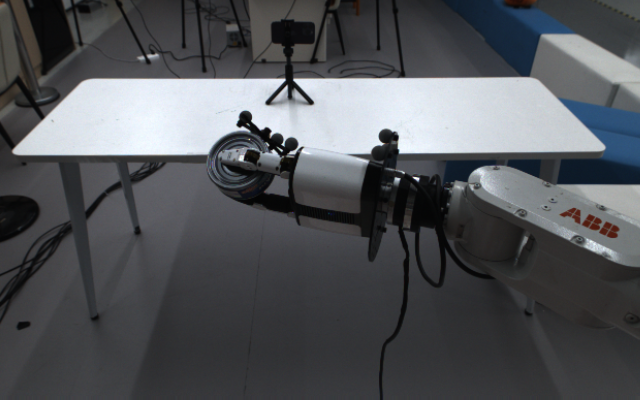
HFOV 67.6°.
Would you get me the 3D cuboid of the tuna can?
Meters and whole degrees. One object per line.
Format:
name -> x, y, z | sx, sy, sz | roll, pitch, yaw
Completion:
tuna can -> -0.099, -0.040, 0.624 | 0.085, 0.034, 0.085 | -4, 69, 10
